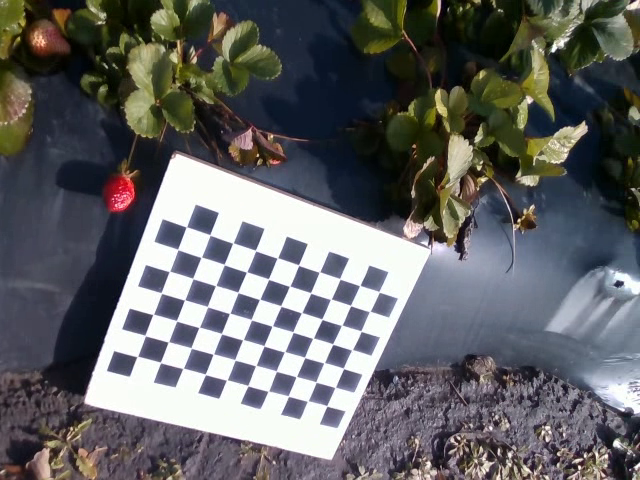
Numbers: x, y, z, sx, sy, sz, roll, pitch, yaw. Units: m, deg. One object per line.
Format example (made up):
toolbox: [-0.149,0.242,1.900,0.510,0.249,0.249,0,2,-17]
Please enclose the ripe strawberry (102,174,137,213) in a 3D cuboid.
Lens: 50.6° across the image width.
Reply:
ripe strawberry: [-0.164,-0.034,0.547,0.034,0.038,0.033,18,-39,-19]
